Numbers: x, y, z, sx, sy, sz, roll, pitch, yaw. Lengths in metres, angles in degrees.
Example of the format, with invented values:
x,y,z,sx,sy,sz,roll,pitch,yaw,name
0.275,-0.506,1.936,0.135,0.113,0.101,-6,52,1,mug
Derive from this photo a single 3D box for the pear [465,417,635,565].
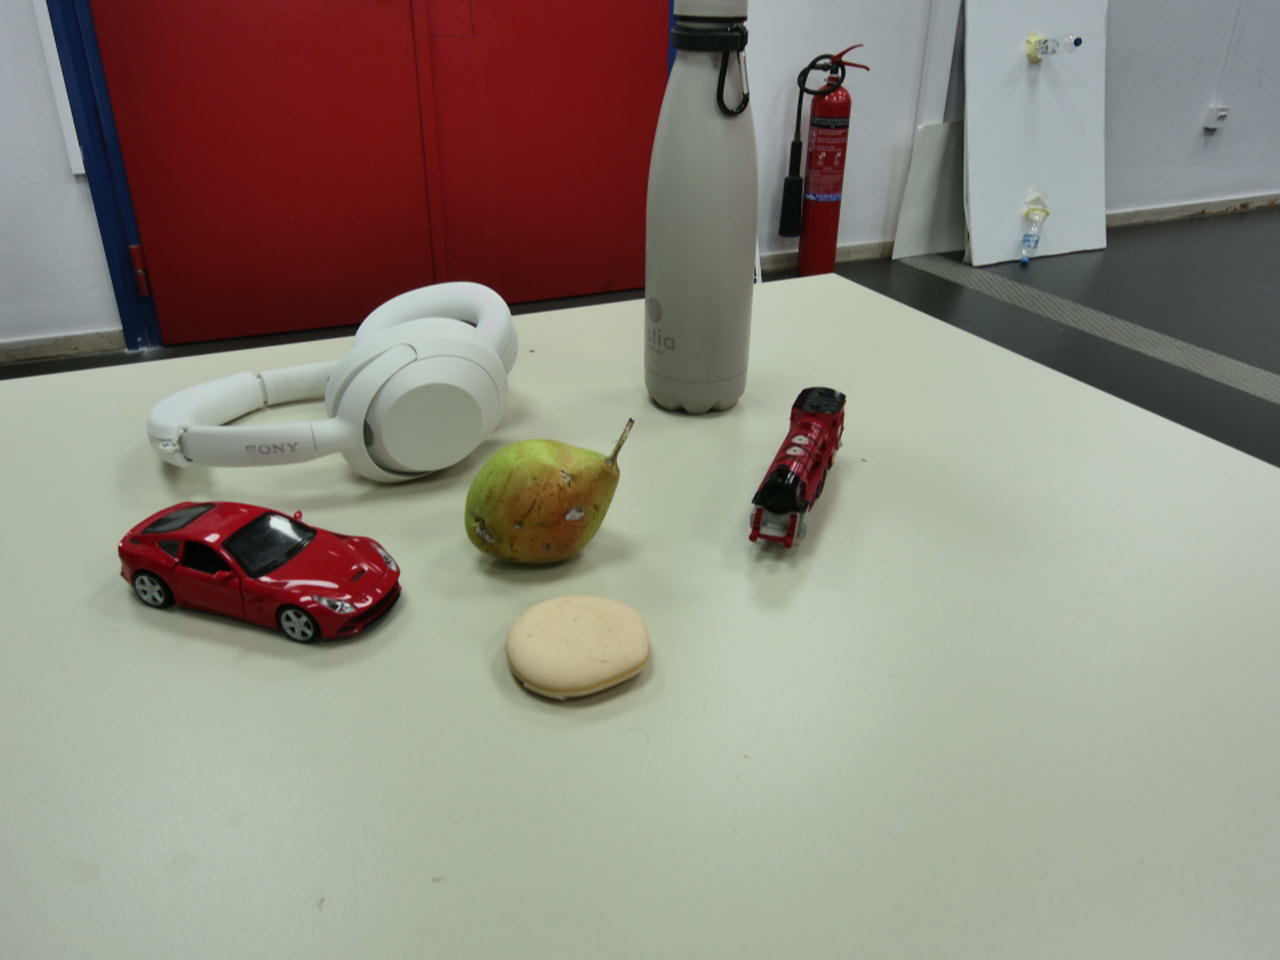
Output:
x,y,z,sx,sy,sz,roll,pitch,yaw,name
-0.049,0.008,0.495,0.070,0.069,0.068,11,28,23,pear
